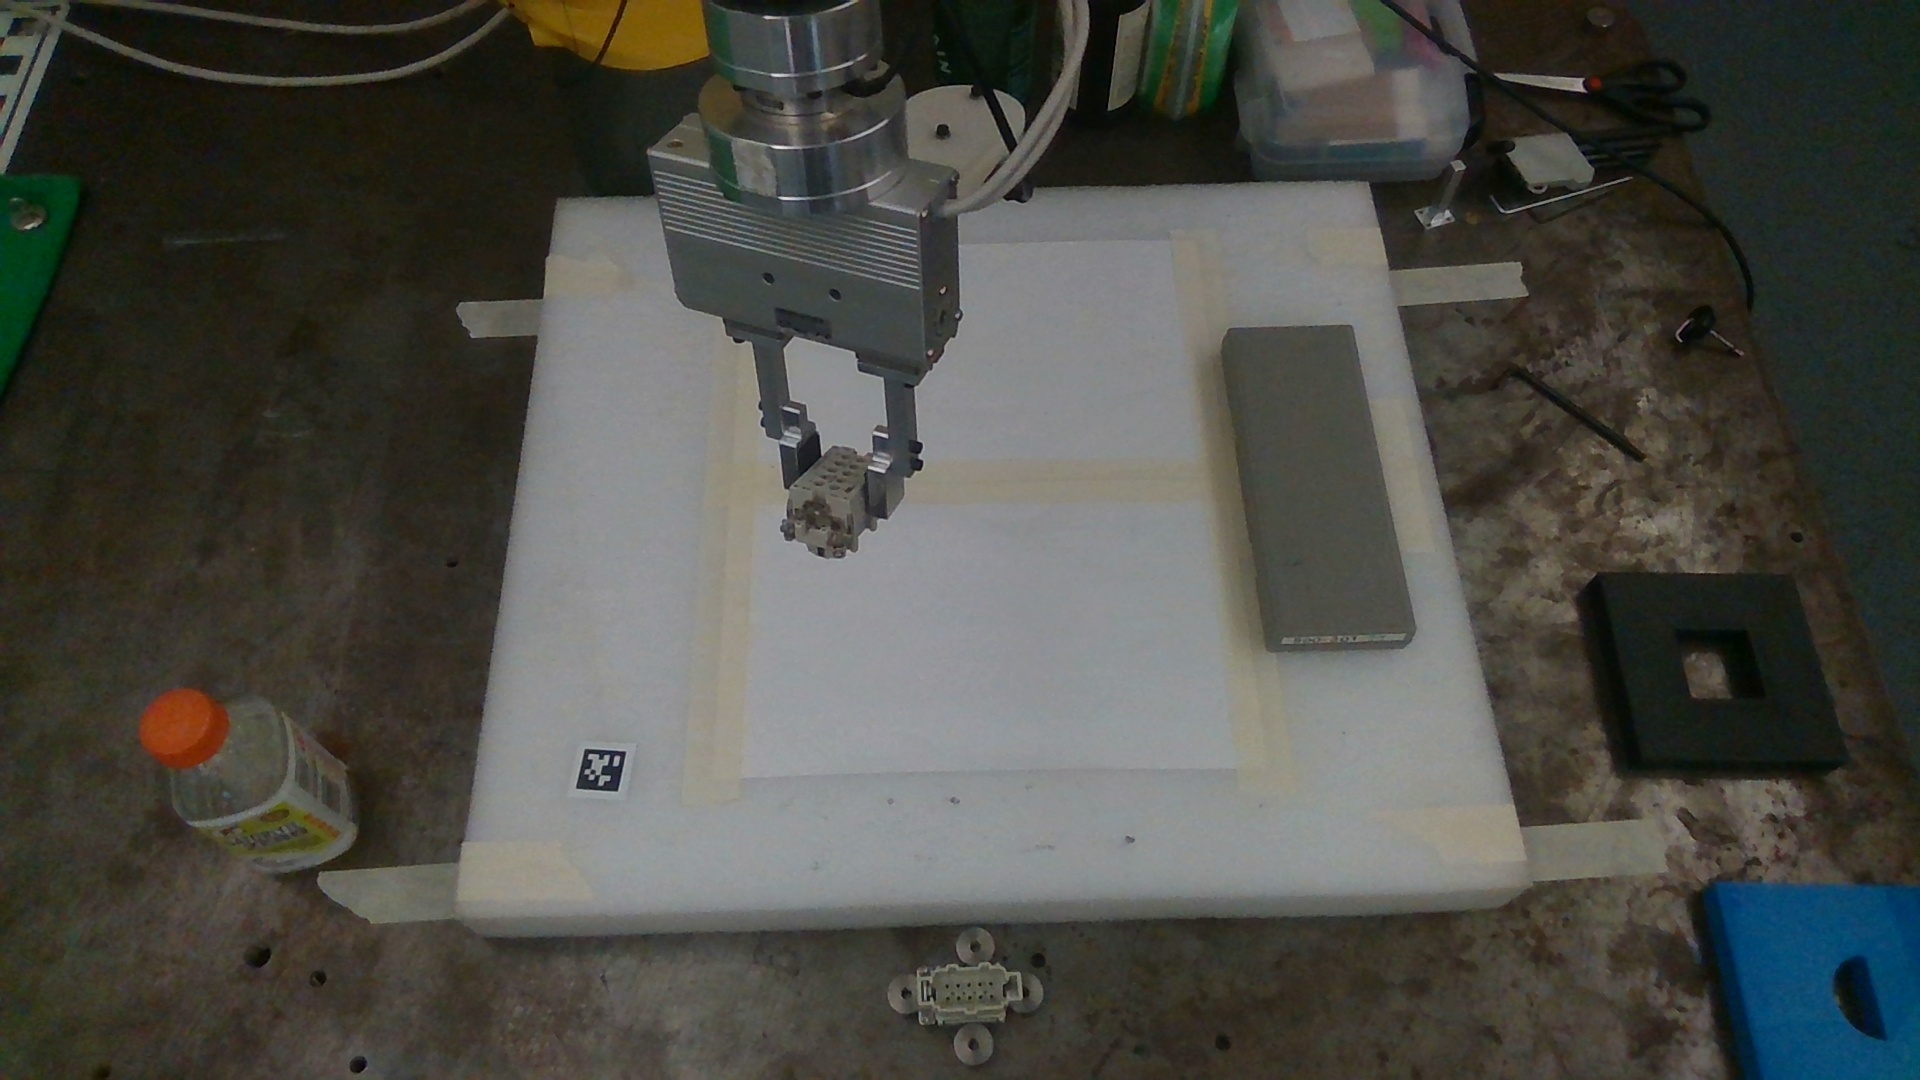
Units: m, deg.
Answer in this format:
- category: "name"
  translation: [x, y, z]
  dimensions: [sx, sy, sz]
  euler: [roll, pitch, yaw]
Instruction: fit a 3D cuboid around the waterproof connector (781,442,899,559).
- category: "waterproof connector"
  translation: [-0.057, -0.019, 0.667]
  dimensions: [0.037, 0.038, 0.069]
  euler: [13, 31, 14]
